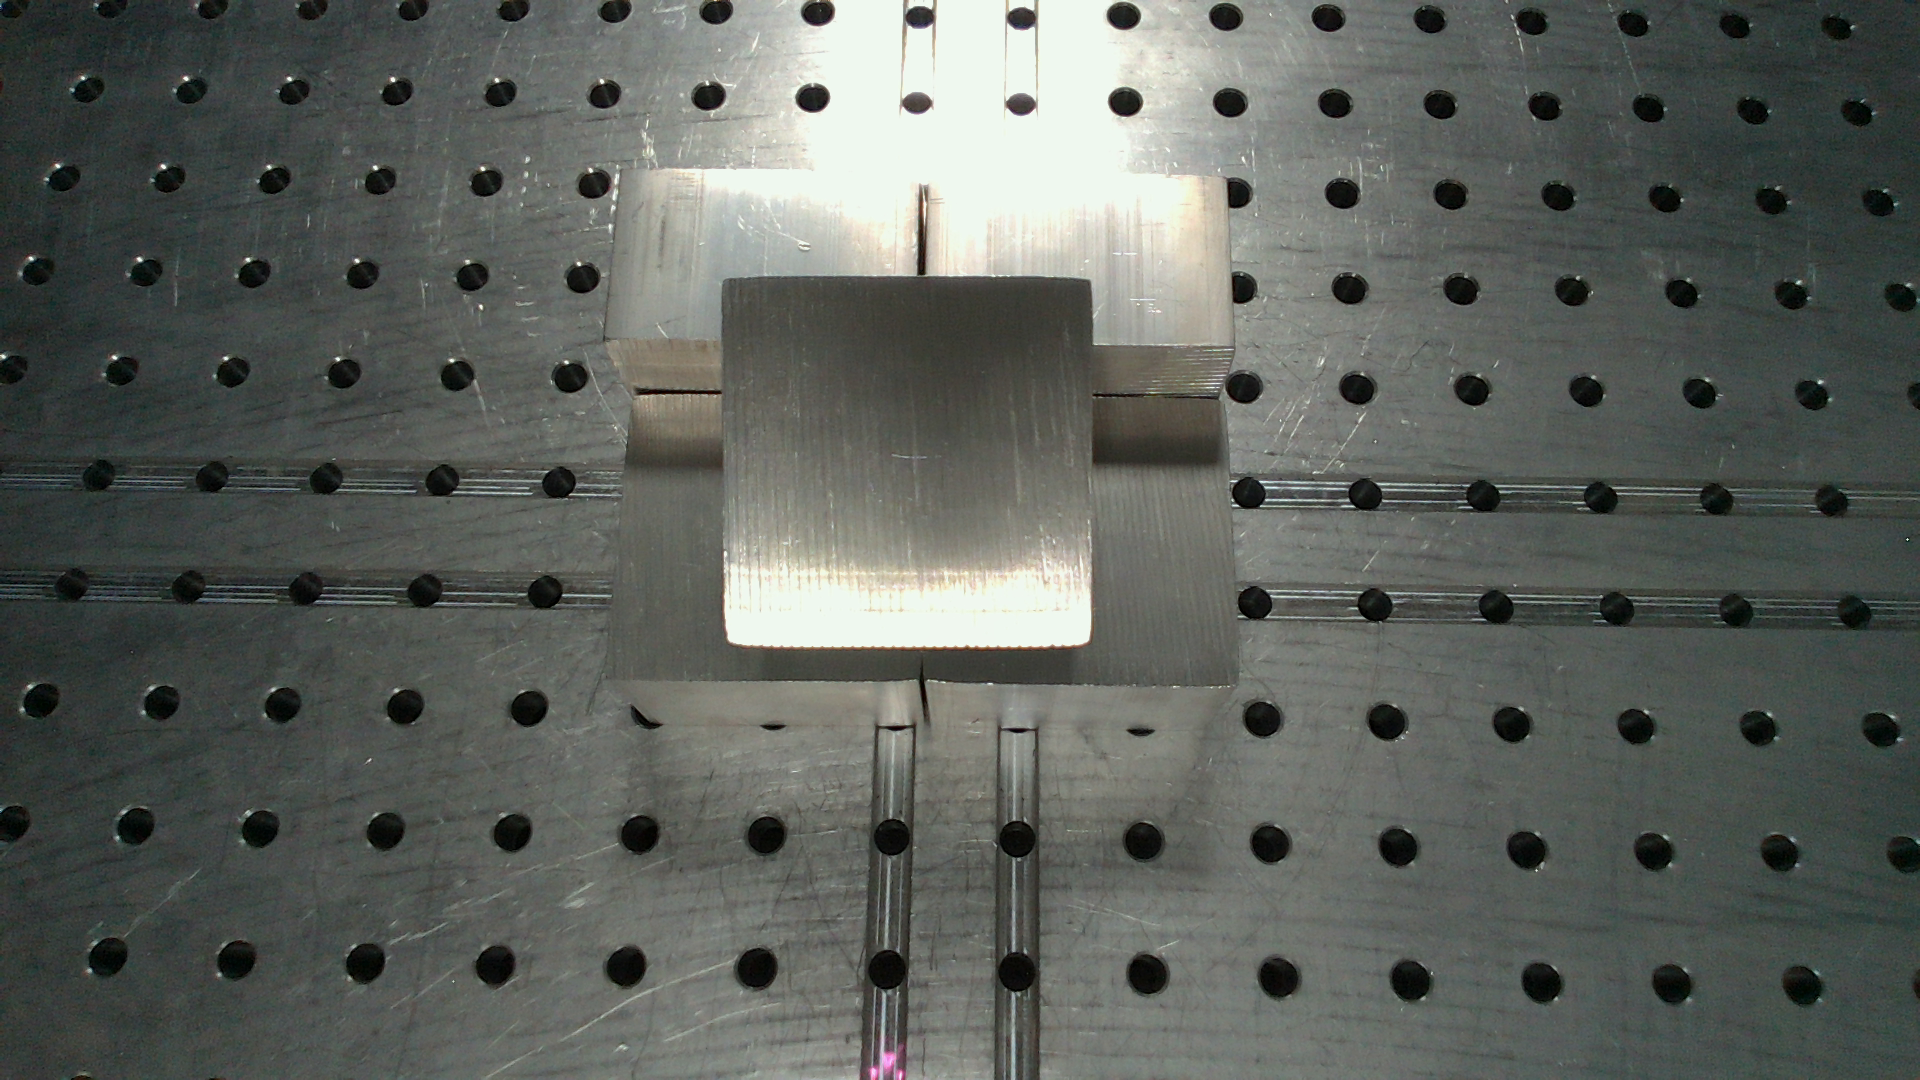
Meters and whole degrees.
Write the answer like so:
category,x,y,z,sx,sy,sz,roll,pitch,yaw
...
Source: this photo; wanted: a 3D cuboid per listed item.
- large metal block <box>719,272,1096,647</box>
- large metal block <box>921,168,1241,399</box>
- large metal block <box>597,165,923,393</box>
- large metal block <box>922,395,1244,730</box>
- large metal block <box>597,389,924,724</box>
category,x,y,z,sx,sy,sz,roll,pitch,yaw
large metal block,-0.011,-0.018,0.319,0.080,0.050,0.080,0,94,0
large metal block,0.030,-0.060,0.389,0.080,0.080,0.050,1,70,0
large metal block,-0.050,-0.061,0.389,0.080,0.080,0.050,1,70,0
large metal block,0.031,0.007,0.379,0.080,0.050,0.080,1,70,0
large metal block,-0.050,0.006,0.380,0.080,0.050,0.080,1,70,0
